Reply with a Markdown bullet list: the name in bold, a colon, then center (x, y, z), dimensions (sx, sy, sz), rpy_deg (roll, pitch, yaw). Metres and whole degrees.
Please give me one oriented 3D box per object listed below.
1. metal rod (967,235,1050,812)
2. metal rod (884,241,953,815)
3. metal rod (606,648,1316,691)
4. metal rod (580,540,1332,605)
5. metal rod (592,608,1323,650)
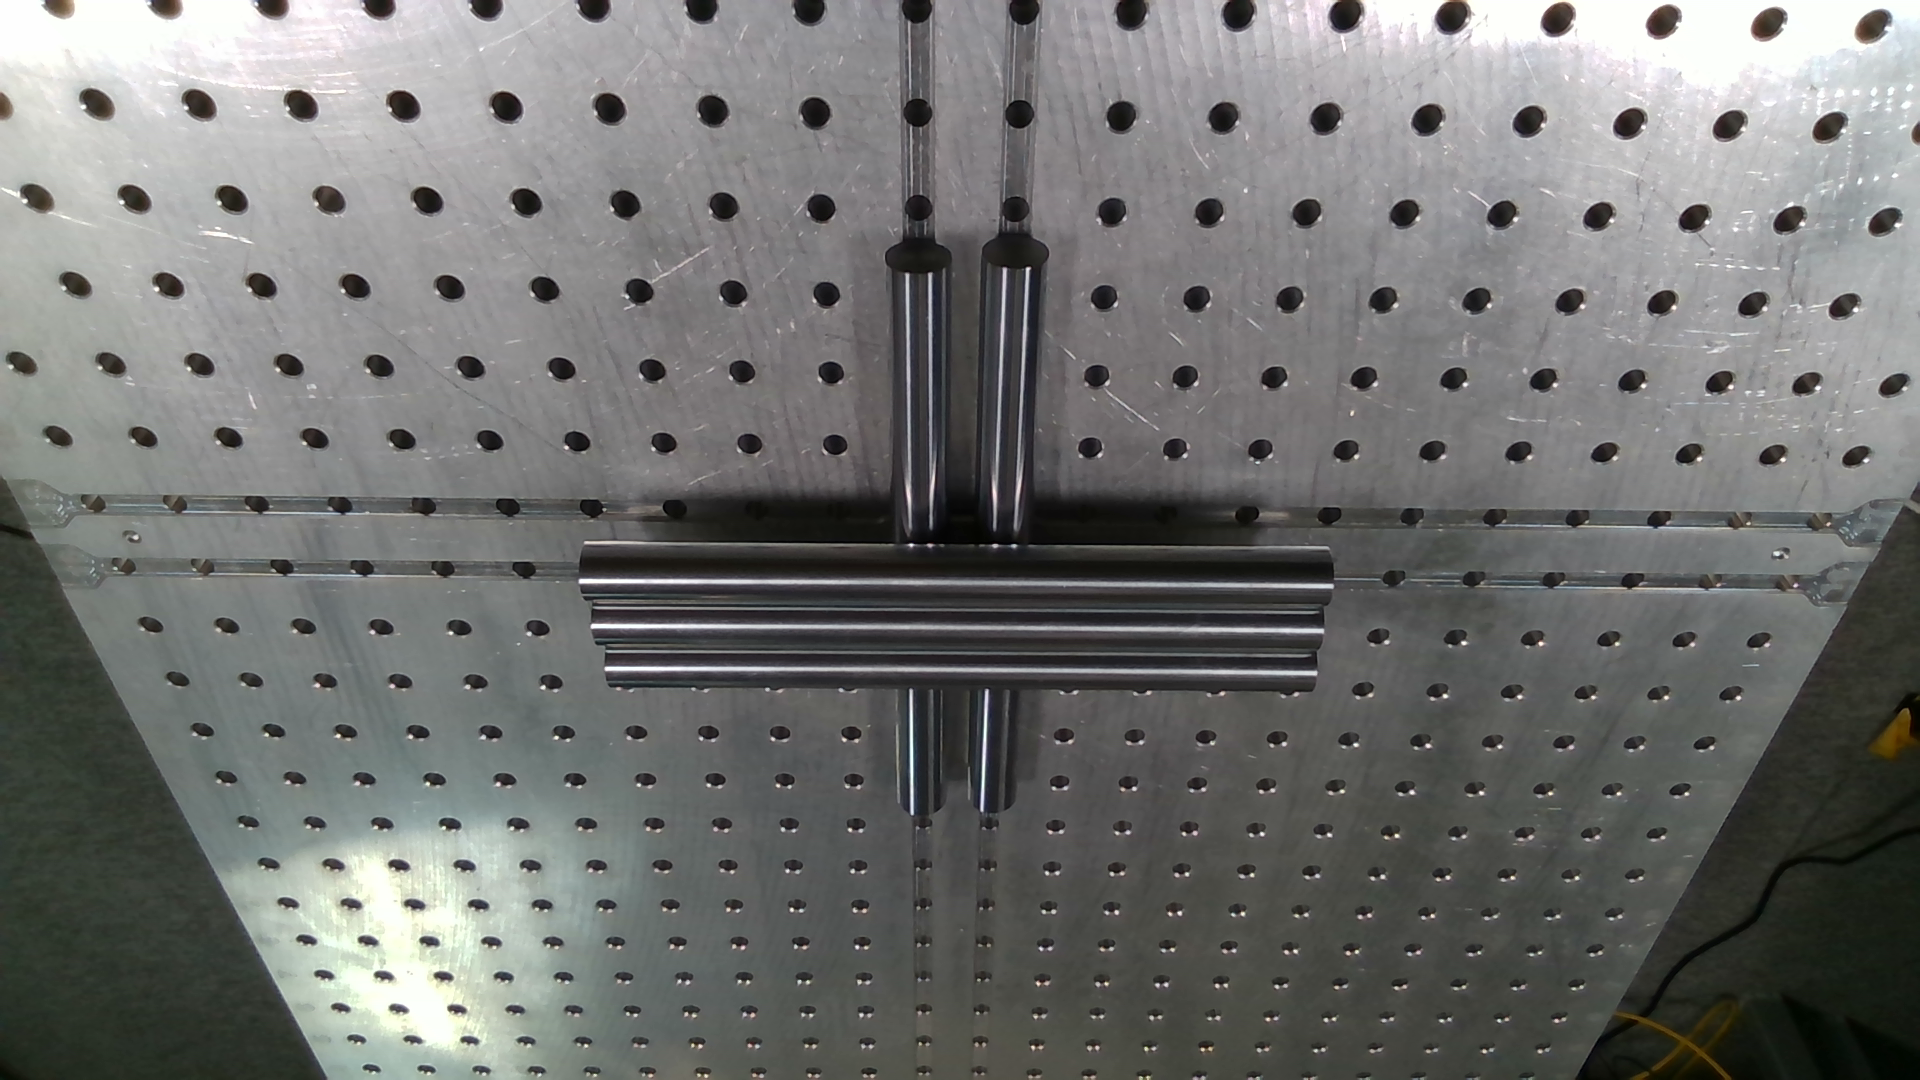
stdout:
- **metal rod**: center (0.018, 0.011, 0.592), dimensions (0.025, 0.025, 0.301), rpy_deg (1, 130, -1)
- **metal rod**: center (-0.017, 0.013, 0.593), dimensions (0.025, 0.025, 0.301), rpy_deg (1, 130, -1)
- **metal rod**: center (0.001, 0.052, 0.594), dimensions (0.300, 0.025, 0.025), rpy_deg (0, 130, 0)
- **metal rod**: center (-0.001, 0.014, 0.561), dimensions (0.300, 0.025, 0.025), rpy_deg (0, 130, 0)
- **metal rod**: center (-0.001, 0.033, 0.578), dimensions (0.300, 0.025, 0.025), rpy_deg (0, 130, 0)
